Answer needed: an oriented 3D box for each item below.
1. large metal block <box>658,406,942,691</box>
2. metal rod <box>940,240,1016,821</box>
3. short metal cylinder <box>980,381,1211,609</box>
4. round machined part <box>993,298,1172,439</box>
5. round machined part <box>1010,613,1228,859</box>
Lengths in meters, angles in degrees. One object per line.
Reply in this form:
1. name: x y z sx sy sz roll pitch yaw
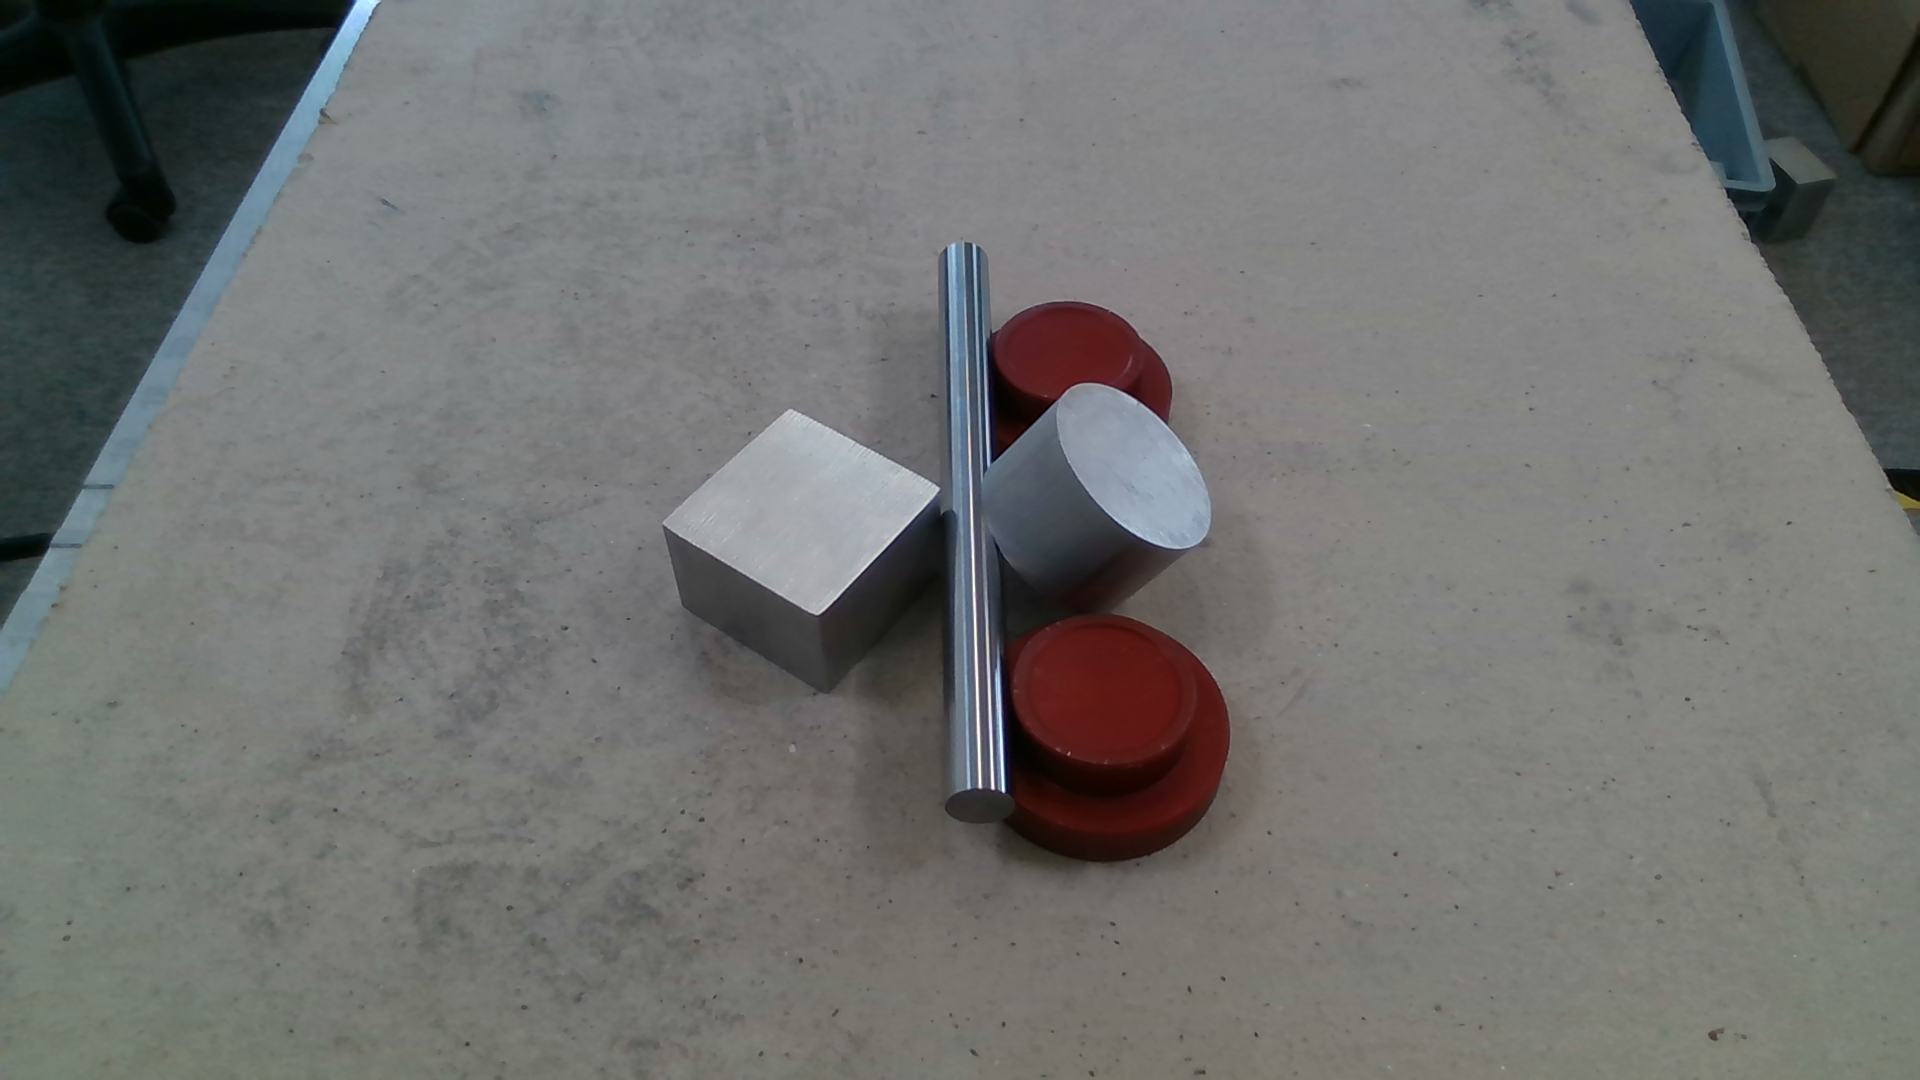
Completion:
1. large metal block: -0.063 0.002 0.567 0.080 0.050 0.080 28 56 22
2. metal rod: 0.004 -0.022 0.578 0.025 0.025 0.299 -1 50 -1
3. short metal cylinder: 0.055 -0.017 0.562 0.080 0.050 0.080 25 44 -26
4. round machined part: 0.049 -0.074 0.638 0.098 0.042 0.098 0 50 0
5. round machined part: 0.052 0.067 0.521 0.098 0.042 0.098 0 50 0
